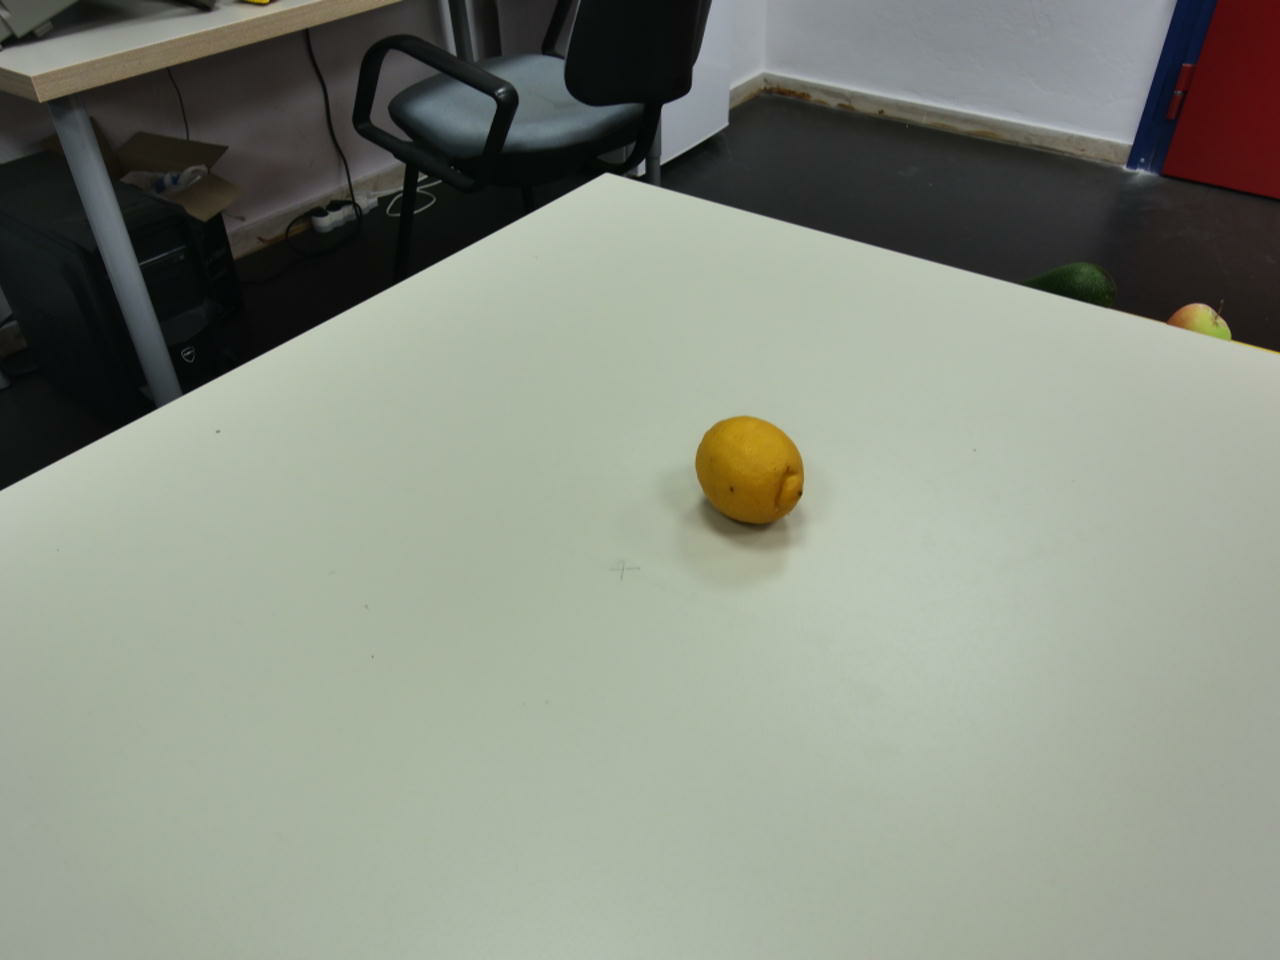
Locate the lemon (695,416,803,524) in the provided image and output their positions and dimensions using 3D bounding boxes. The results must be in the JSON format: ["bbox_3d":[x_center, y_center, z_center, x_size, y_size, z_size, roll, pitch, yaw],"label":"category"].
[{"bbox_3d":[0.064,-0.005,0.587,0.061,0.059,0.067,-6,38,-8],"label":"lemon"}]
